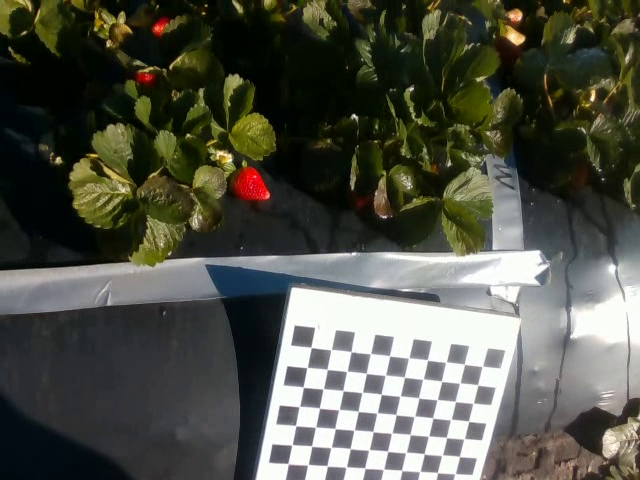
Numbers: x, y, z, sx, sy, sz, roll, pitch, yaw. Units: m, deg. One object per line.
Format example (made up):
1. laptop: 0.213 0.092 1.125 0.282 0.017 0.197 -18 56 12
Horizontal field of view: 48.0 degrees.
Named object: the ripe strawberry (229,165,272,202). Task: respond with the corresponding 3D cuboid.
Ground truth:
1. ripe strawberry: -0.082 -0.063 0.821 0.058 0.046 0.042 37 0 -2
